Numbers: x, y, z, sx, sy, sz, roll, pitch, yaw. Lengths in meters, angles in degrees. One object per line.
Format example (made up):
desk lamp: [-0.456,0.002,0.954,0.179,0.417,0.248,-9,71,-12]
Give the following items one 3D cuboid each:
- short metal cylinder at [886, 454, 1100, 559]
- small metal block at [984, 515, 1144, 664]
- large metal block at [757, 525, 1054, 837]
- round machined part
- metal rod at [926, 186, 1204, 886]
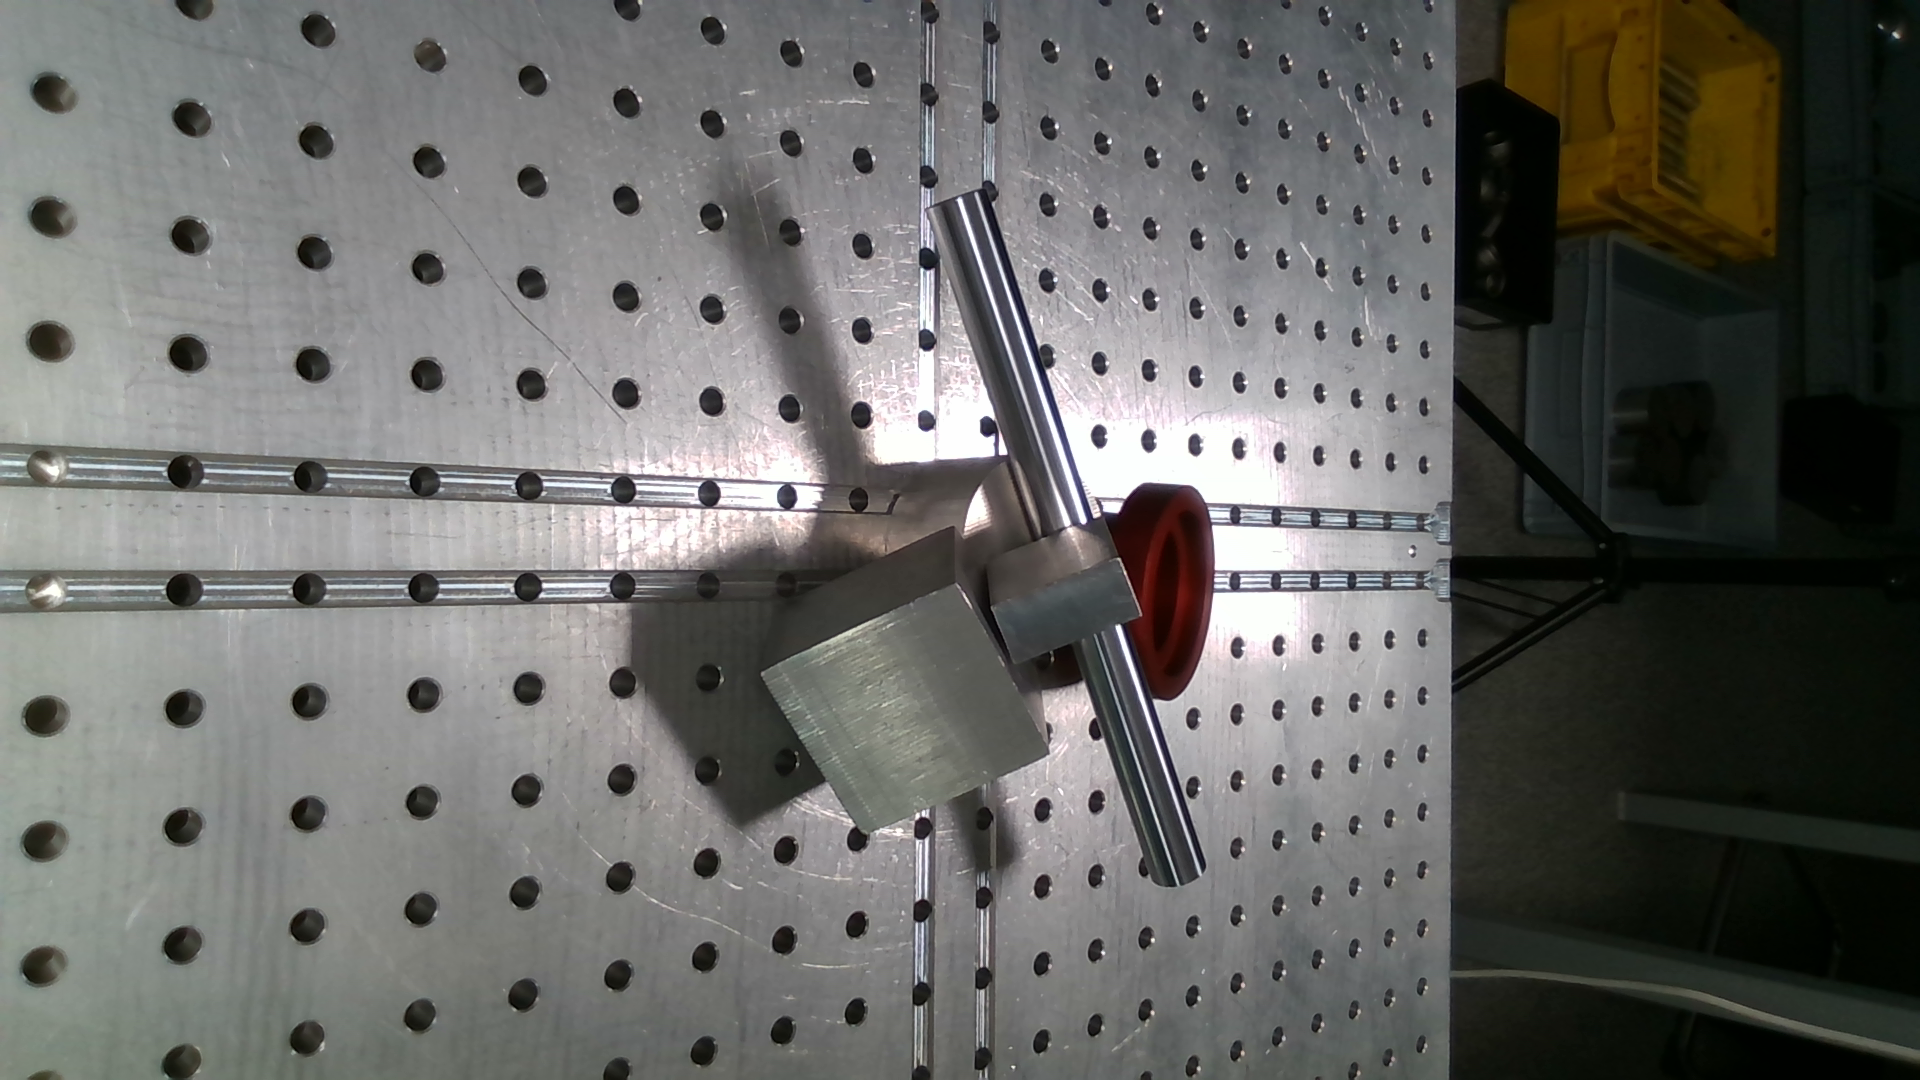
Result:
short metal cylinder: [0.016,0.003,0.582,0.080,0.050,0.080,0,90,-40]
small metal block: [0.038,0.018,0.523,0.050,0.050,0.025,-22,108,5]
large metal block: [-0.019,0.053,0.523,0.080,0.050,0.080,-25,112,9]
round machined part: [0.081,0.022,0.629,0.098,0.042,0.098,-21,114,-60]
metal rod: [0.047,0.007,0.560,0.025,0.025,0.300,-31,110,-36]
